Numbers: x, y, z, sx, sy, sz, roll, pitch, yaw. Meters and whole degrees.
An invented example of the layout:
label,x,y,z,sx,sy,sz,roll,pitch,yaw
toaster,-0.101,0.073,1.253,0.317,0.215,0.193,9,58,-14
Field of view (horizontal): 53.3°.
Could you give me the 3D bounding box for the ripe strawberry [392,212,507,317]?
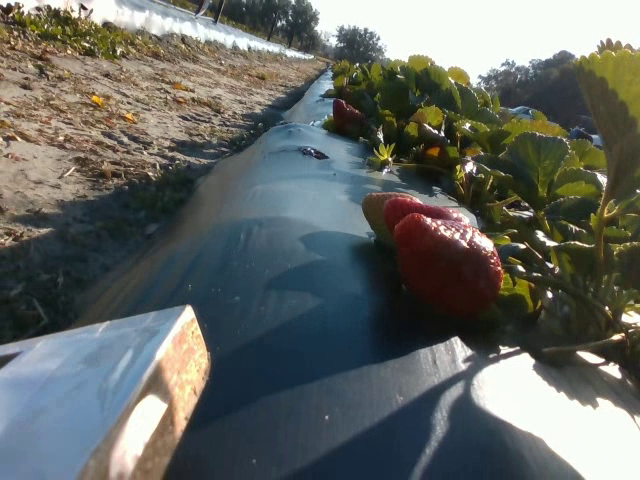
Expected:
label,x,y,z,sx,sy,sz,roll,pitch,yaw
ripe strawberry,0.056,-0.005,0.328,0.061,0.044,0.050,36,37,8
